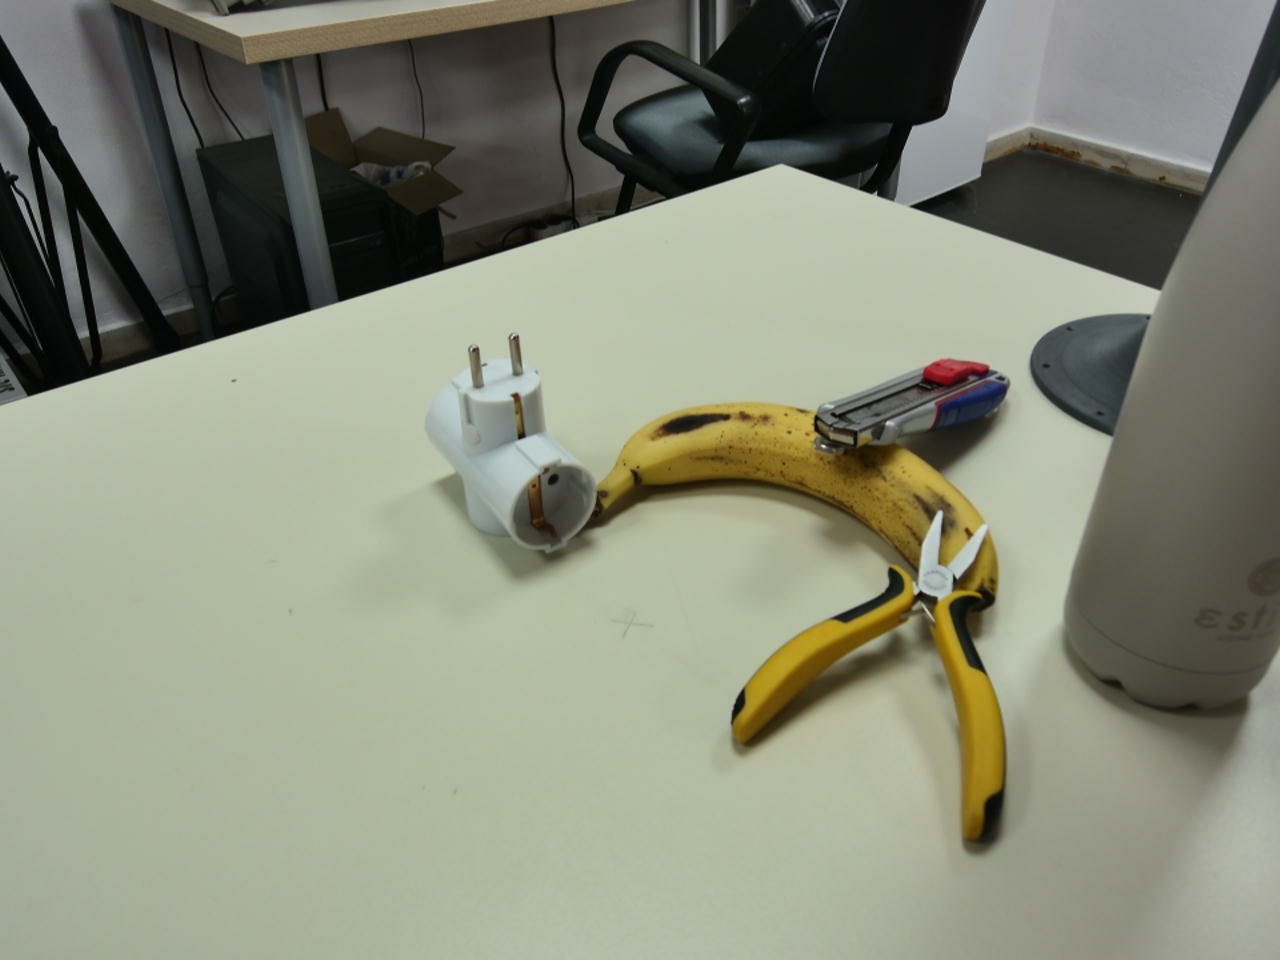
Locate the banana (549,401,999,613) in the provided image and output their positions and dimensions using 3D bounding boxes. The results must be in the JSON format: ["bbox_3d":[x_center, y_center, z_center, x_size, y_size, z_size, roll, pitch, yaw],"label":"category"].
[{"bbox_3d":[0.070,0.003,0.449,0.186,0.038,0.097,15,37,21],"label":"banana"}]
